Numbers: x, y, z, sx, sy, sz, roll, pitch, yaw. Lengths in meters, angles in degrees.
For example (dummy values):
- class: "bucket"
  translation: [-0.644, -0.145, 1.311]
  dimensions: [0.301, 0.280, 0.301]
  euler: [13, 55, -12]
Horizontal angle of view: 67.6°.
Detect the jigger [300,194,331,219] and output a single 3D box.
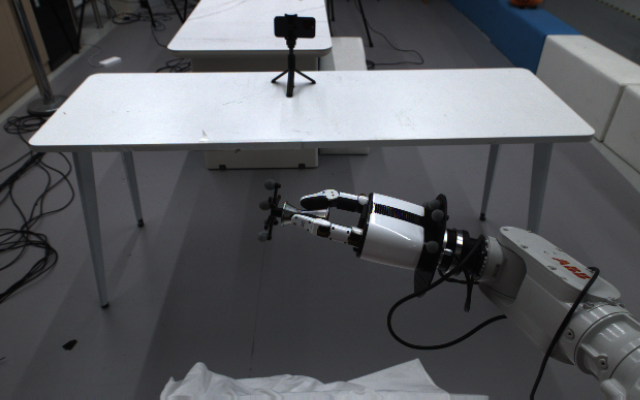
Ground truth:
- class: "jigger"
  translation: [-0.015, 0.023, 0.739]
  dimensions: [0.071, 0.043, 0.043]
  euler: [9, 35, 3]
